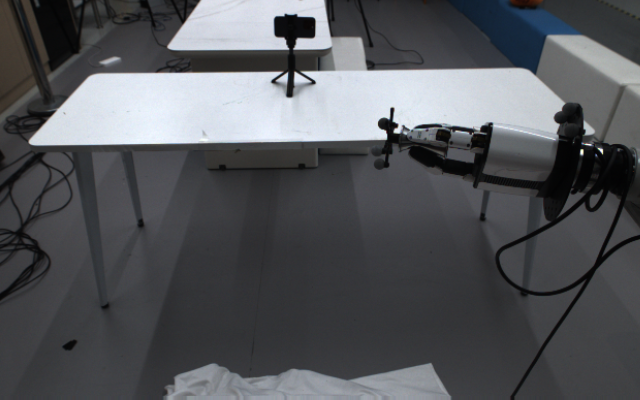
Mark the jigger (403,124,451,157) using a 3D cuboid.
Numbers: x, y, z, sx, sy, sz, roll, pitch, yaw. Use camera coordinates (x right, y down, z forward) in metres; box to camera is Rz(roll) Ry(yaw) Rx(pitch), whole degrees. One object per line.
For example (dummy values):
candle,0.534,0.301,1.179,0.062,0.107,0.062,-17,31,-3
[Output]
jigger,0.156,-0.089,0.697,0.071,0.043,0.043,8,35,15
